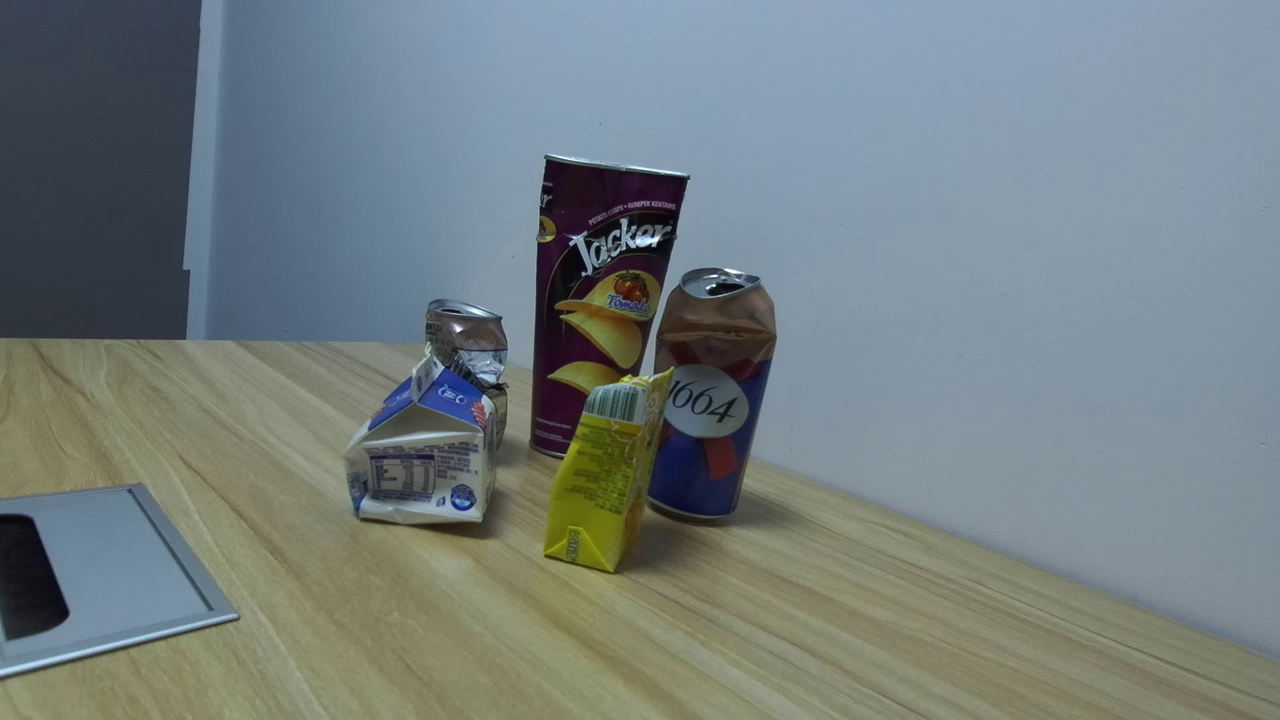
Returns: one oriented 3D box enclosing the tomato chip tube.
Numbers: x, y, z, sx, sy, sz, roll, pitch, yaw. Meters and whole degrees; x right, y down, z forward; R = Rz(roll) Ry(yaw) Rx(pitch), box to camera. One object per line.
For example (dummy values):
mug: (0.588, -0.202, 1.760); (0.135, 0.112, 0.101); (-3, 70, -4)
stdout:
tomato chip tube: (-0.037, -0.038, 0.565); (0.078, 0.235, 0.089); (1, 13, -44)

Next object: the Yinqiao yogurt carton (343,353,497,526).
Yinqiao yogurt carton: (-0.128, 0.042, 0.414); (0.080, 0.097, 0.074); (-1, 11, -8)

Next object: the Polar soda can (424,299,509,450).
Polar soda can: (-0.130, 0.015, 0.526); (0.074, 0.114, 0.070); (4, 16, -4)

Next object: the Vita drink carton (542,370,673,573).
Vita drink carton: (-0.017, 0.055, 0.401); (0.046, 0.109, 0.071); (13, 9, 11)

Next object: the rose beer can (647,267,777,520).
rose beer can: (0.045, 0.023, 0.476); (0.069, 0.168, 0.070); (5, 15, -8)
